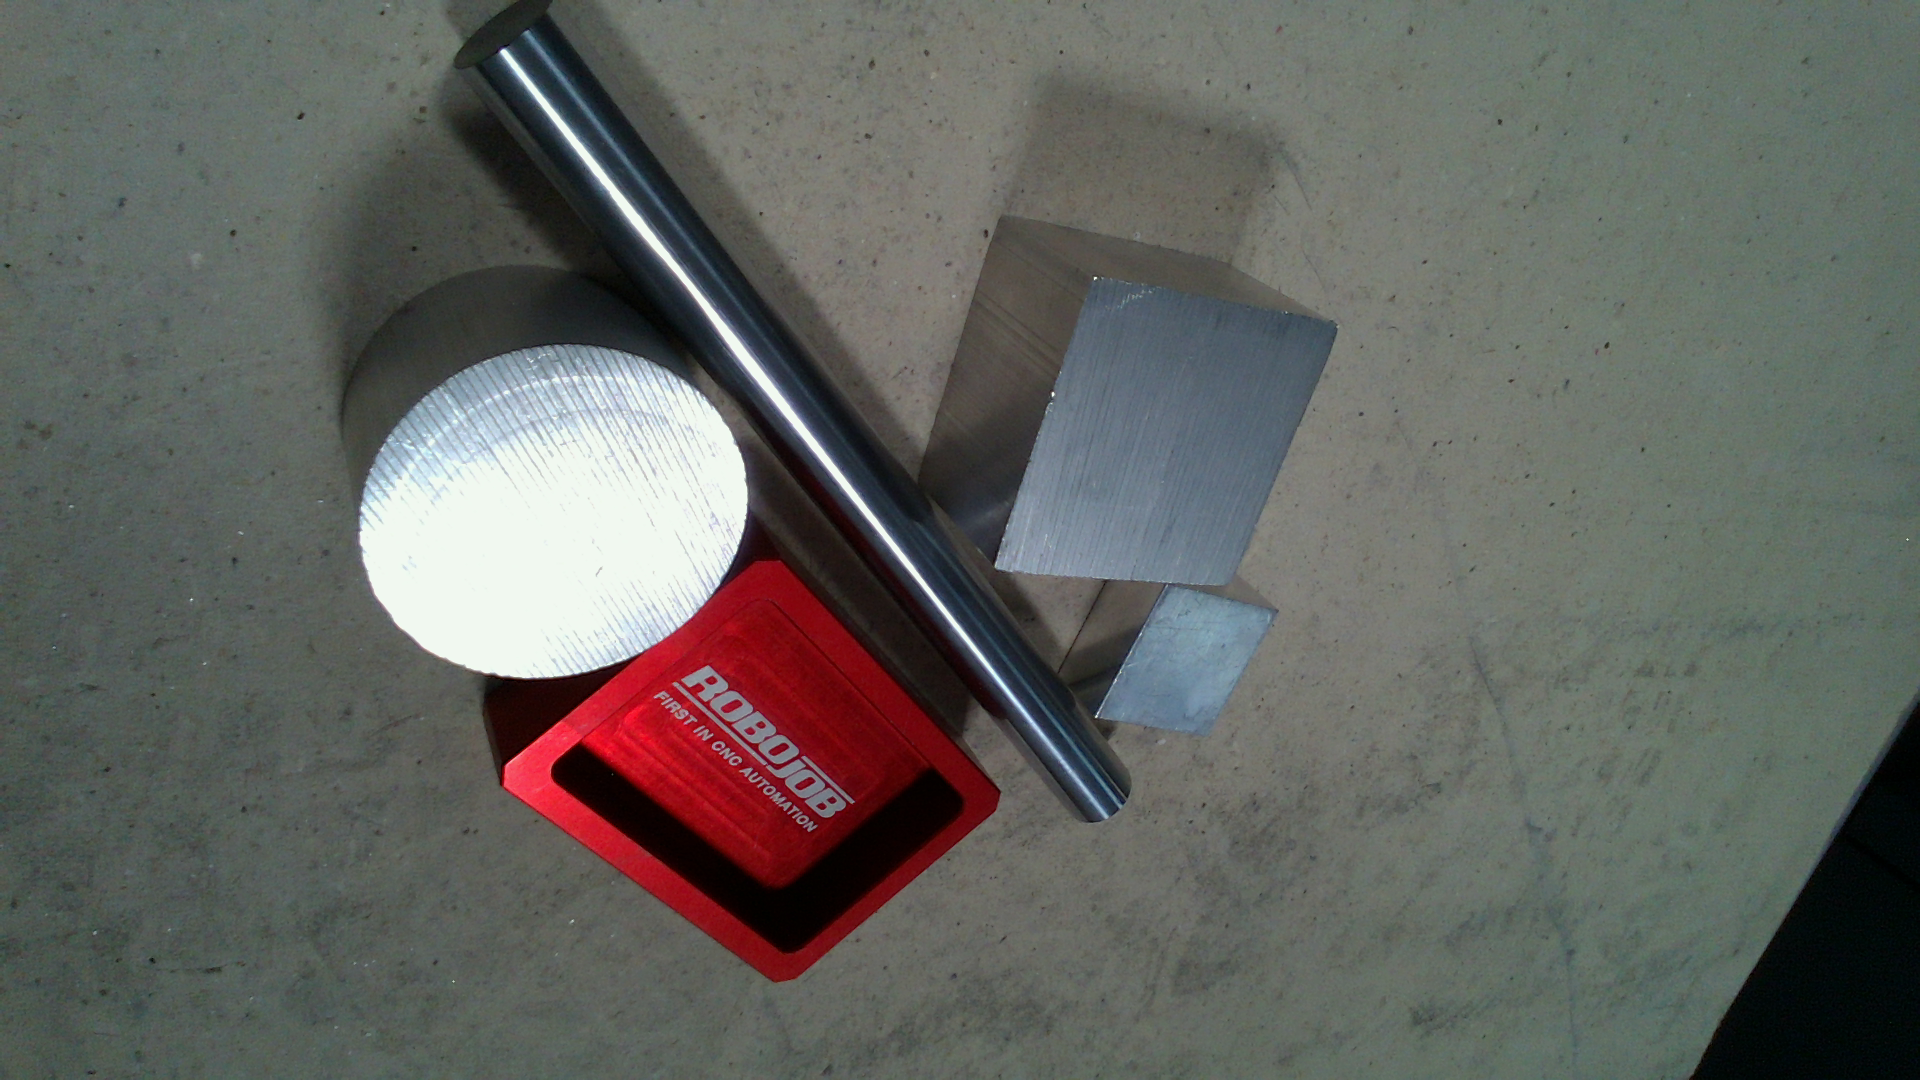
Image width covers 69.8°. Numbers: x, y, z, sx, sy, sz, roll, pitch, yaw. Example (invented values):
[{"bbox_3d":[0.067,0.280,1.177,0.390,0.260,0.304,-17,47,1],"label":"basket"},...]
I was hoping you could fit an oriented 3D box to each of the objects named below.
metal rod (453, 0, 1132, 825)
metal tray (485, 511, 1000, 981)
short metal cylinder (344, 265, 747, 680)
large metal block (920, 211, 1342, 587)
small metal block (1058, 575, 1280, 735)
[{"bbox_3d":[-0.022,-0.008,0.371,0.025,0.025,0.301,-38,129,-2],"label":"metal rod"},{"bbox_3d":[-0.057,0.063,0.394,0.090,0.030,0.130,-39,129,-2],"label":"metal tray"},{"bbox_3d":[-0.094,-0.016,0.312,0.080,0.050,0.080,-14,124,-21],"label":"short metal cylinder"},{"bbox_3d":[0.044,-0.036,0.375,0.080,0.050,0.080,4,116,-30],"label":"large metal block"},{"bbox_3d":[0.067,0.033,0.446,0.050,0.025,0.050,13,111,-34],"label":"small metal block"}]
